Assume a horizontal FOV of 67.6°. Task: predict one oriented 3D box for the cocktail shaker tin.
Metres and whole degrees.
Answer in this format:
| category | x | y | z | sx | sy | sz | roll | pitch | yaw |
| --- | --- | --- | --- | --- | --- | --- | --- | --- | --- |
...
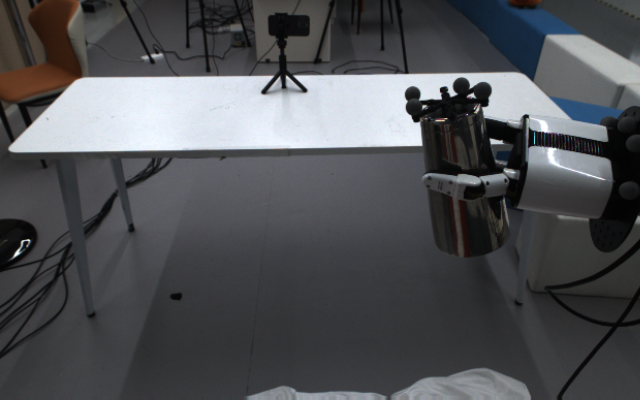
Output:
| category | x | y | z | sx | sy | sz | roll | pitch | yaw |
| --- | --- | --- | --- | --- | --- | --- | --- | --- | --- |
| cocktail shaker tin | 0.166 | -0.029 | 0.565 | 0.093 | 0.170 | 0.093 | -15 | 29 | 8 |
